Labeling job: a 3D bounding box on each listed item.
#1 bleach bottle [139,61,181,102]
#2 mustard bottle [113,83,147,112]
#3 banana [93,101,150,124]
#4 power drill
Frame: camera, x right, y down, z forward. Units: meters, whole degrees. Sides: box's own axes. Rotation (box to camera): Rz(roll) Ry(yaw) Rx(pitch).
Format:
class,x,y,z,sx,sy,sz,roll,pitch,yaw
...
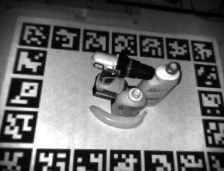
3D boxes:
class,x,y,z,sx,sy,sz,roll,pitch,yaw
bleach bottle,0.137,-0.022,0.675,0.103,0.251,0.067,6,64,-6
mustard bottle,0.062,0.036,0.667,0.096,0.191,0.058,4,70,-8
banana,0.030,0.091,0.734,0.198,0.039,0.074,8,71,-4
power drill,0.027,-0.041,0.667,0.185,0.187,0.057,15,68,-5
